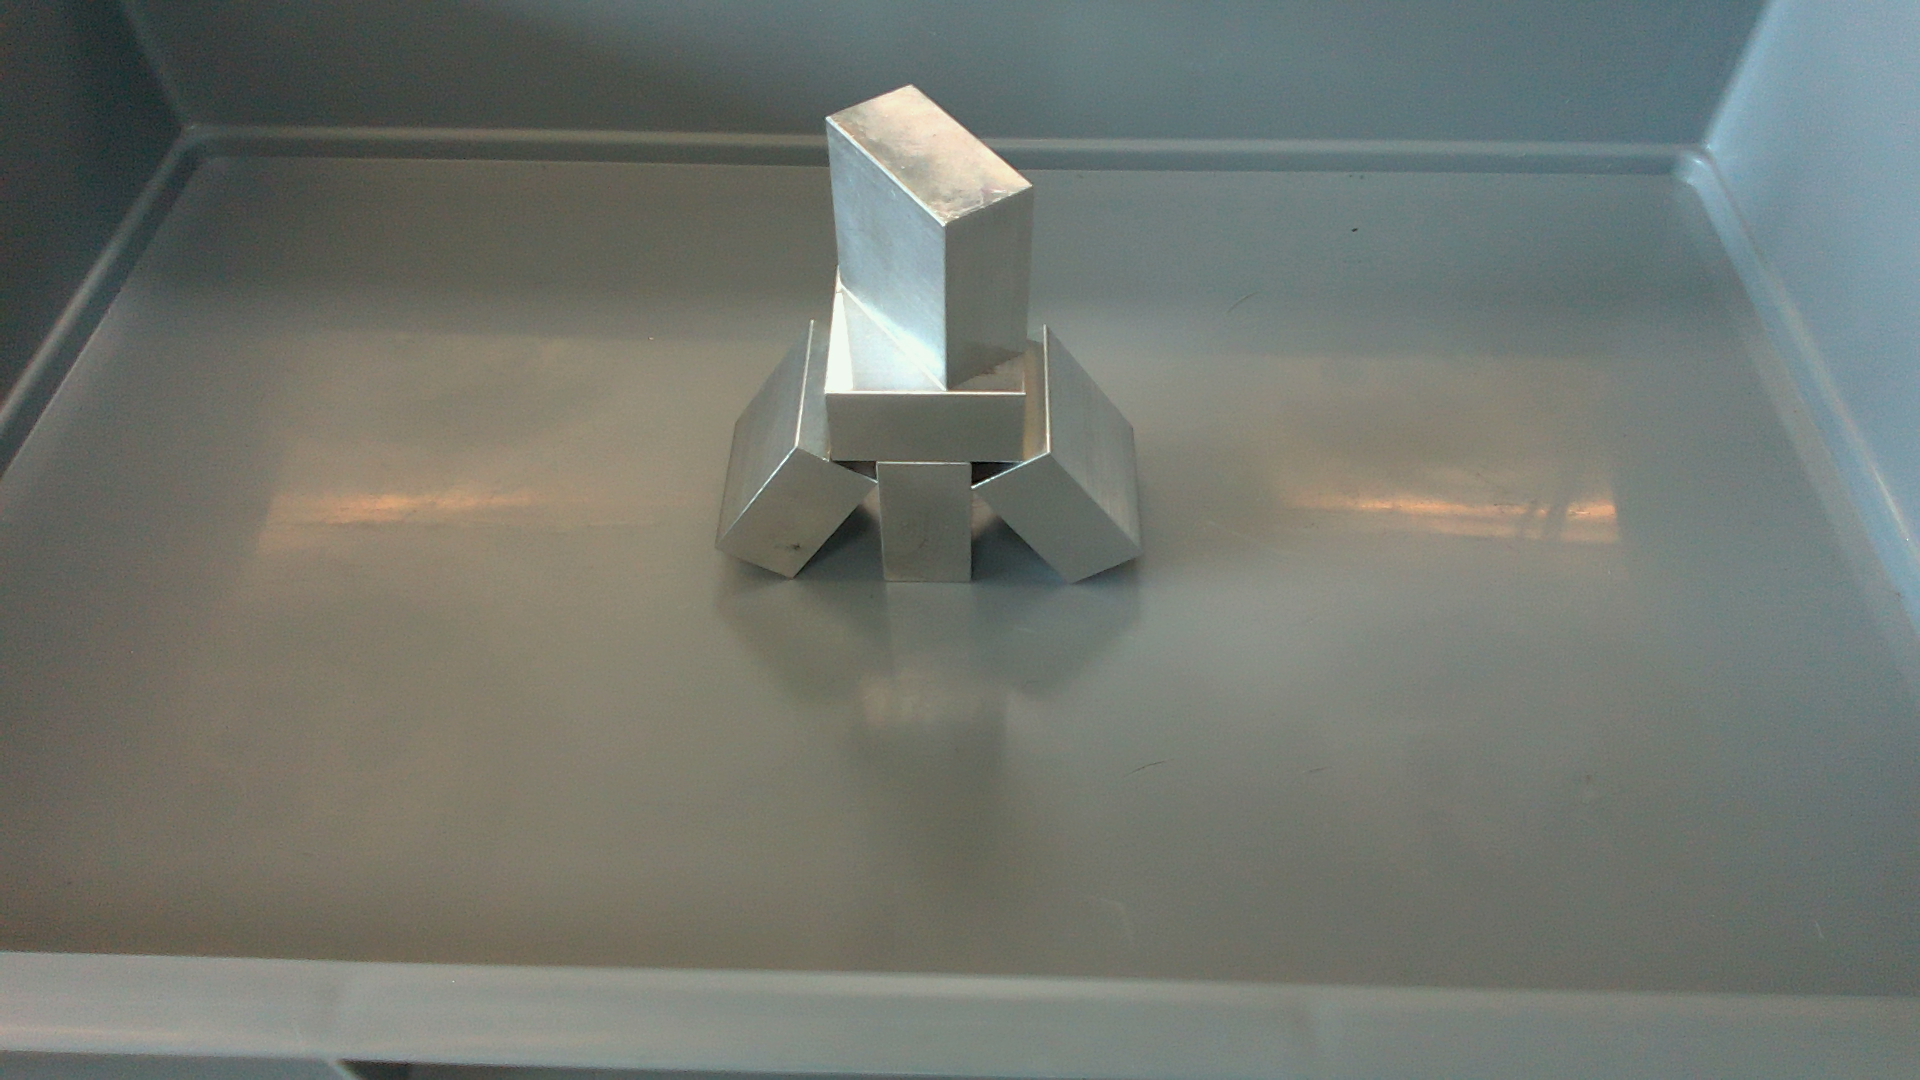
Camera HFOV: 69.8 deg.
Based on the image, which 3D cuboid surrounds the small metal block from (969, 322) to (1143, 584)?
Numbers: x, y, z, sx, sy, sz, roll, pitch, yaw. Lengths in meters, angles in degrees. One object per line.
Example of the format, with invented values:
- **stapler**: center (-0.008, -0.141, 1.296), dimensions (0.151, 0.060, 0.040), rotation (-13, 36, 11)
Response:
- **small metal block**: center (0.027, -0.024, 0.391), dimensions (0.025, 0.050, 0.050), rotation (-23, 44, 26)

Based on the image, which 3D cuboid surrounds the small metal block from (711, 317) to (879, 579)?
- **small metal block**: center (-0.045, -0.026, 0.391), dimensions (0.025, 0.050, 0.050), rotation (23, 45, -24)

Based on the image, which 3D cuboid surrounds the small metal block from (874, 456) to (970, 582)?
- **small metal block**: center (-0.009, -0.023, 0.393), dimensions (0.025, 0.050, 0.050), rotation (1, 49, 1)

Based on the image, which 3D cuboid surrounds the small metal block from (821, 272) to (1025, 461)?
- **small metal block**: center (-0.009, -0.048, 0.364), dimensions (0.050, 0.025, 0.050), rotation (1, 49, 1)

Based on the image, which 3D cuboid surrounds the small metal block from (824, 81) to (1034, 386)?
- **small metal block**: center (-0.007, -0.075, 0.338), dimensions (0.025, 0.050, 0.050), rotation (-28, 55, -21)
